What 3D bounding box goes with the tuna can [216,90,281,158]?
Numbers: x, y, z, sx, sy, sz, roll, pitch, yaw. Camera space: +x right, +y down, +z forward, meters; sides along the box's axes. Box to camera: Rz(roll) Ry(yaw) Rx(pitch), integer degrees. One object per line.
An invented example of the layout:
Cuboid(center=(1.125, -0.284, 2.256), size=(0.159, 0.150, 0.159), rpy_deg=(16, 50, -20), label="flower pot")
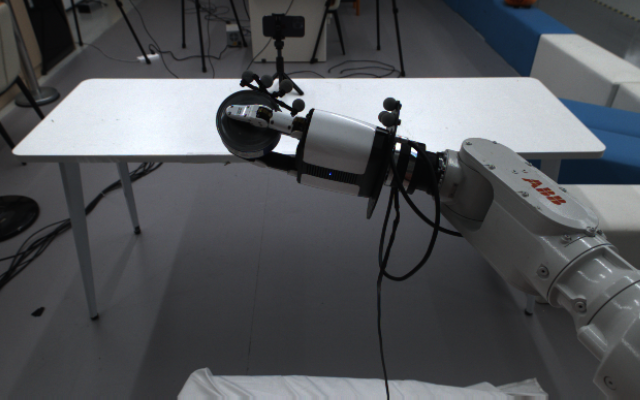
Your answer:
Cuboid(center=(-0.093, -0.100, 0.642), size=(0.085, 0.034, 0.085), rpy_deg=(1, 75, -4), label="tuna can")
